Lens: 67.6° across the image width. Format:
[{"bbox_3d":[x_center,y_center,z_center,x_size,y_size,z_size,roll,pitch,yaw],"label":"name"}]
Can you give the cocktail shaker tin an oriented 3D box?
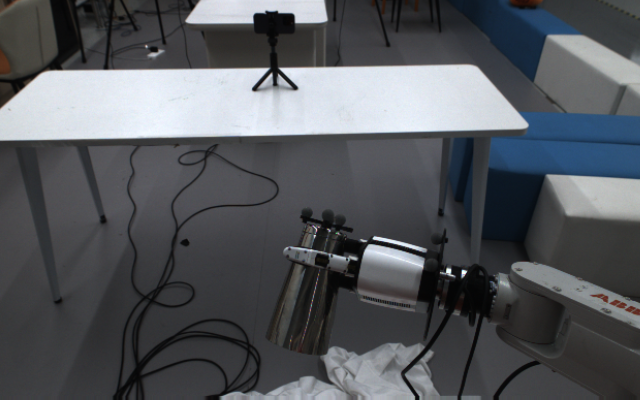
[{"bbox_3d":[-0.011,0.123,0.704,0.093,0.170,0.093,15,-5,1],"label":"cocktail shaker tin"}]
